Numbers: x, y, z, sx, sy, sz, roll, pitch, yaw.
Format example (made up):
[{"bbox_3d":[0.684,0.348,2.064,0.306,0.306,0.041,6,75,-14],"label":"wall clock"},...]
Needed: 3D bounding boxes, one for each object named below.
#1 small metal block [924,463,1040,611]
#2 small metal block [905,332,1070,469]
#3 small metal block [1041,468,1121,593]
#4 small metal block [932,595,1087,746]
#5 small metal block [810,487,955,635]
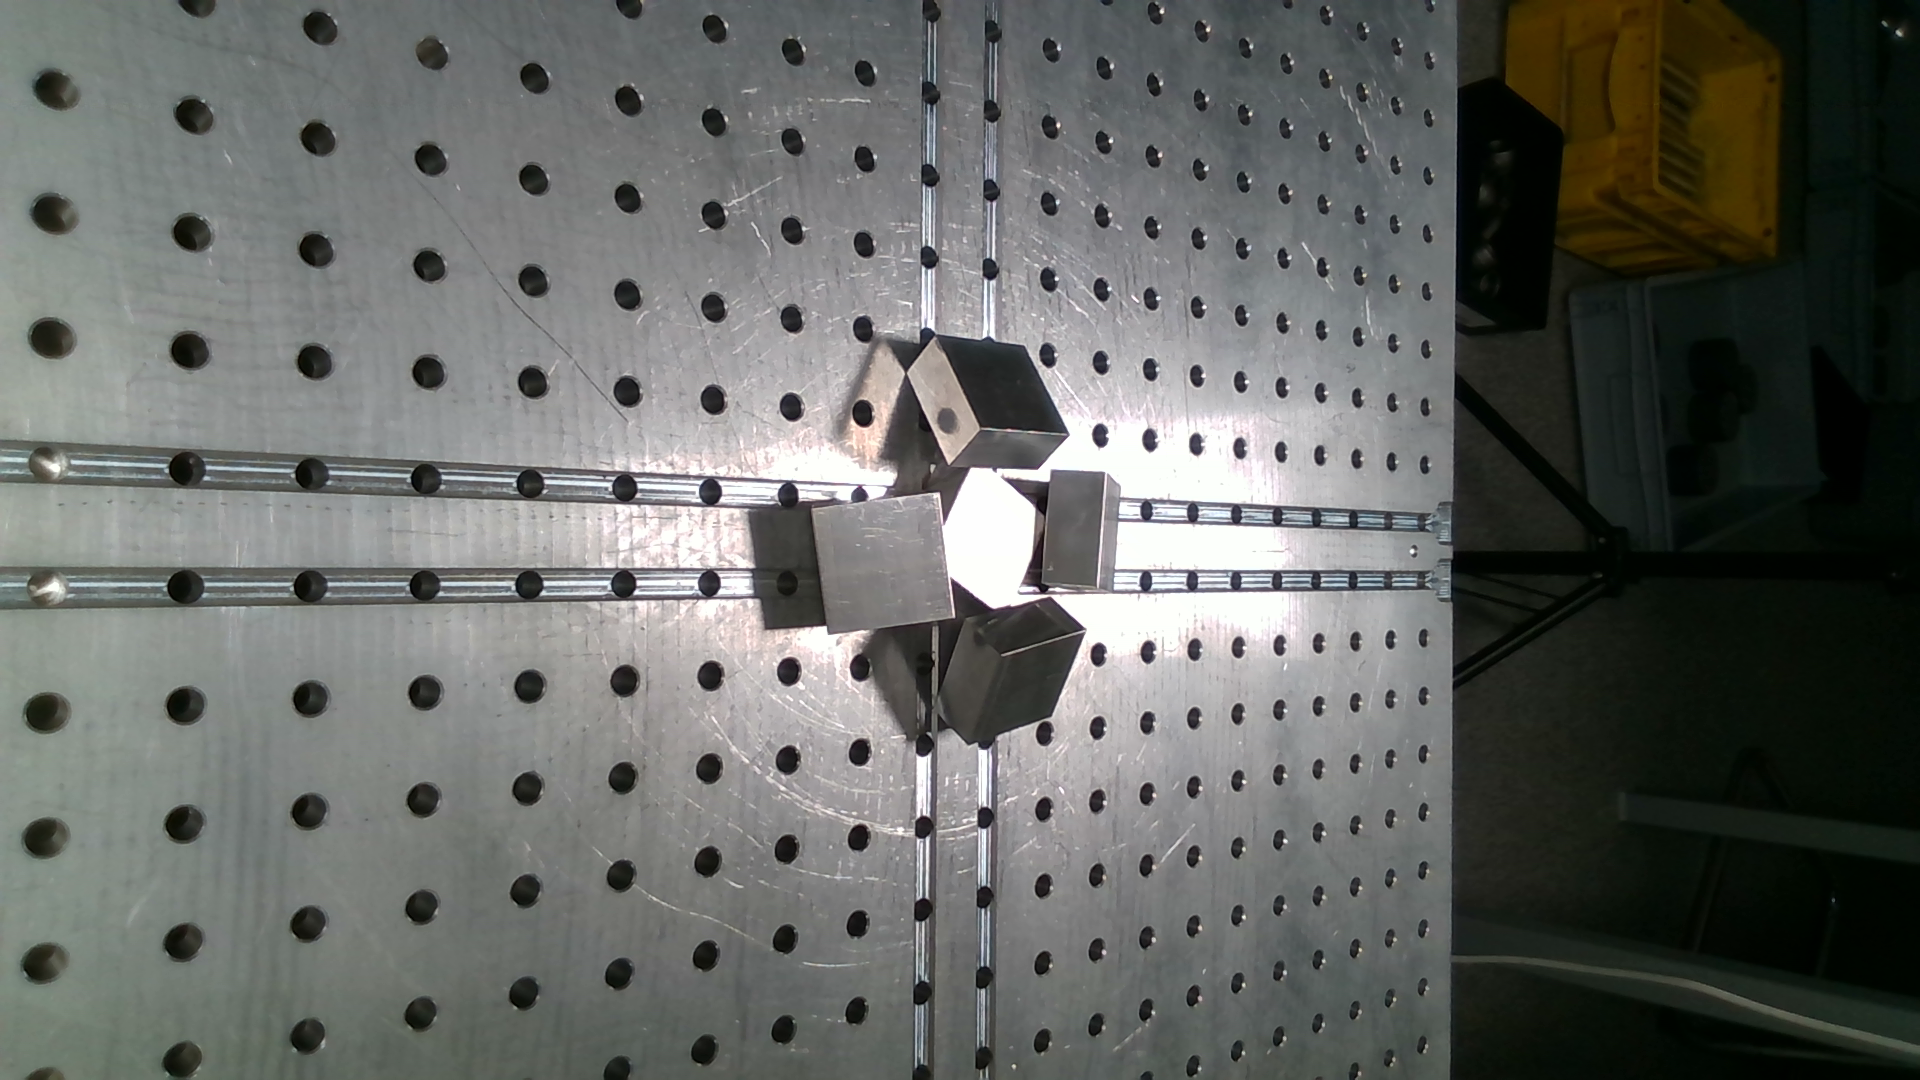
[{"bbox_3d":[0.005,-0.001,0.590,0.050,0.025,0.050,38,66,-34],"label":"small metal block"},{"bbox_3d":[0.011,-0.058,0.580,0.050,0.025,0.050,0,55,-40],"label":"small metal block"},{"bbox_3d":[0.055,-0.003,0.616,0.050,0.025,0.050,21,73,-75],"label":"small metal block"},{"bbox_3d":[0.021,0.055,0.588,0.050,0.025,0.050,-13,133,-40],"label":"small metal block"},{"bbox_3d":[-0.031,0.008,0.544,0.050,0.025,0.050,-8,96,-4],"label":"small metal block"}]
